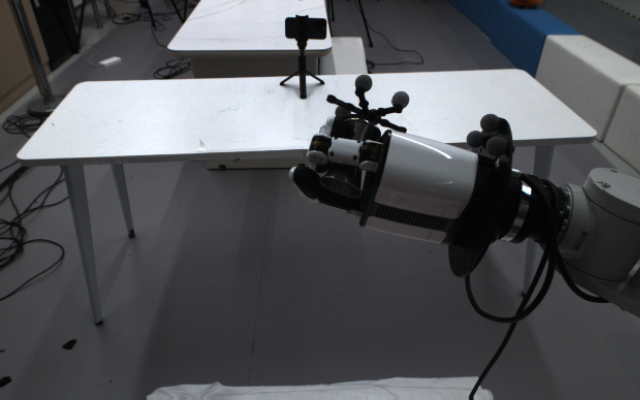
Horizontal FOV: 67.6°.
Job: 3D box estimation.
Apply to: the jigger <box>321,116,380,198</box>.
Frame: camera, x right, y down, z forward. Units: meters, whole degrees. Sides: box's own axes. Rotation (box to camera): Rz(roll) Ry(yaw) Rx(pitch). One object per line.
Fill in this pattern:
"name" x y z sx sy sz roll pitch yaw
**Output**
"jigger" 0.032 -0.044 0.482 0.043 0.043 0.071 14 70 17
